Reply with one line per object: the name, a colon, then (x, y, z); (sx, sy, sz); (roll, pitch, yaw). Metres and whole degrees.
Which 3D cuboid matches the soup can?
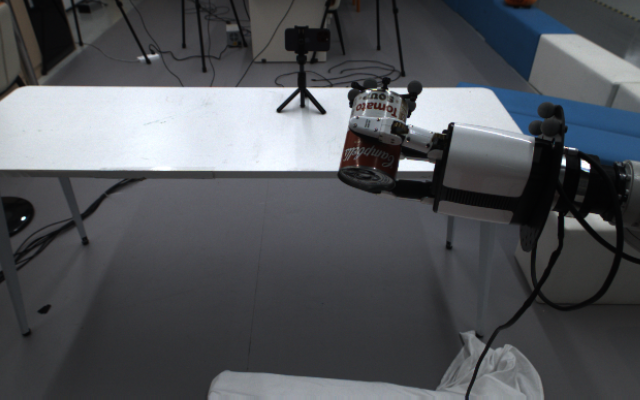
soup can: (0.064, -0.071, 0.566); (0.067, 0.067, 0.101); (9, 72, 10)
